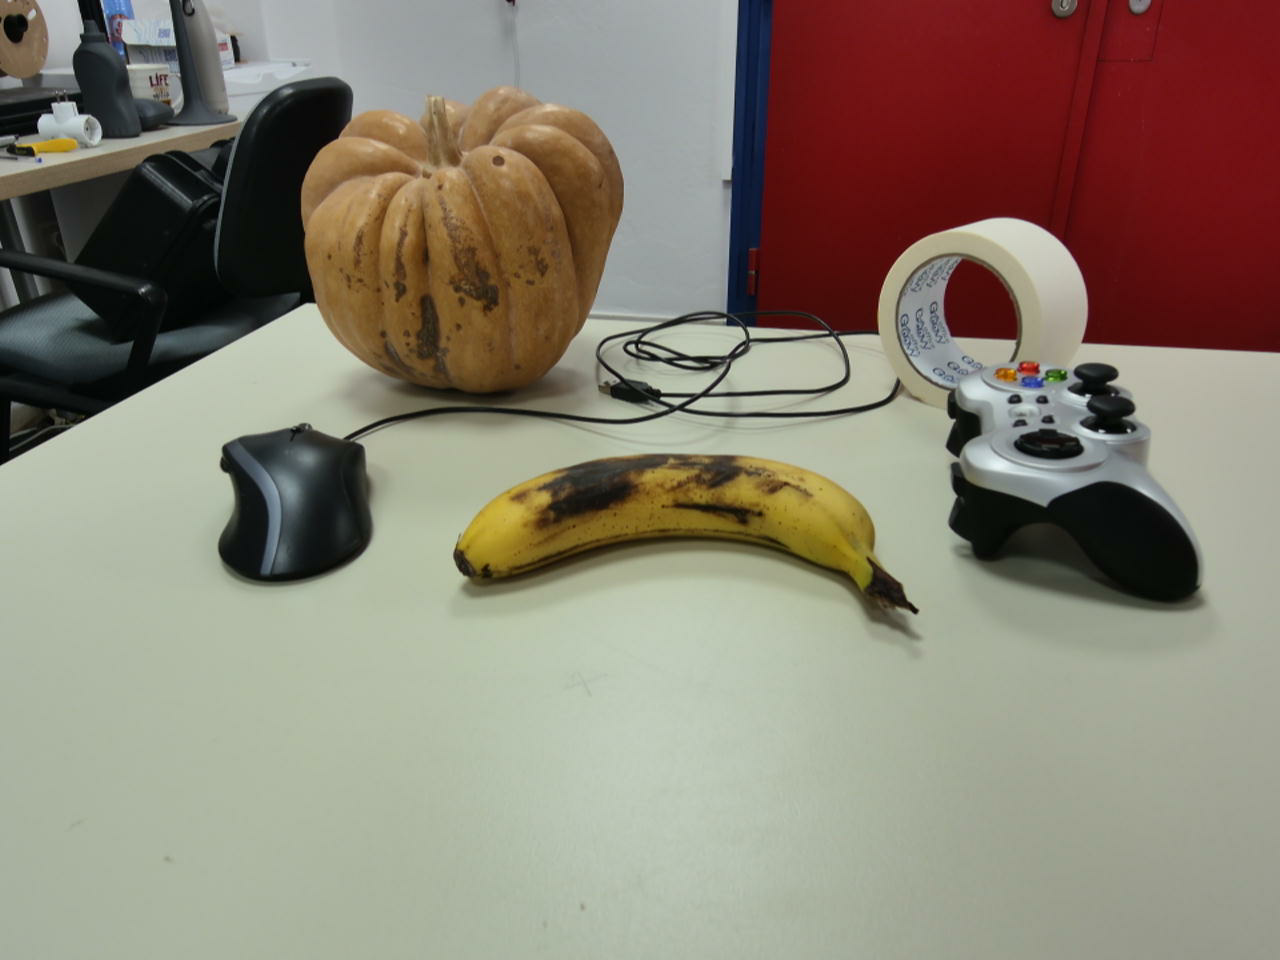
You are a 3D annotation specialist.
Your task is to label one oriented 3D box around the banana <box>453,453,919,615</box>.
[{"bbox_3d":[0.020,0.018,0.435,0.187,0.039,0.094,4,24,10],"label":"banana"}]
